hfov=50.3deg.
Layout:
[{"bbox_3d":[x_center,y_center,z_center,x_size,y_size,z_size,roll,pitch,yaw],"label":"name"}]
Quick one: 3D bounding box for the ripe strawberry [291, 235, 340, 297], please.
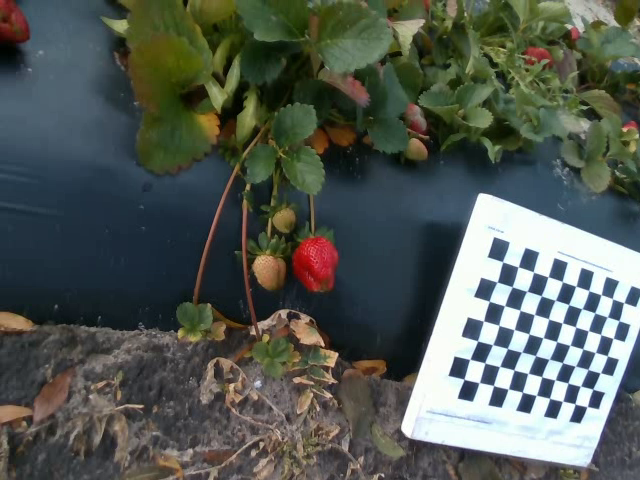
[{"bbox_3d":[0.002,0.023,0.712,0.067,0.075,0.053,-4,12,-26],"label":"ripe strawberry"}]
